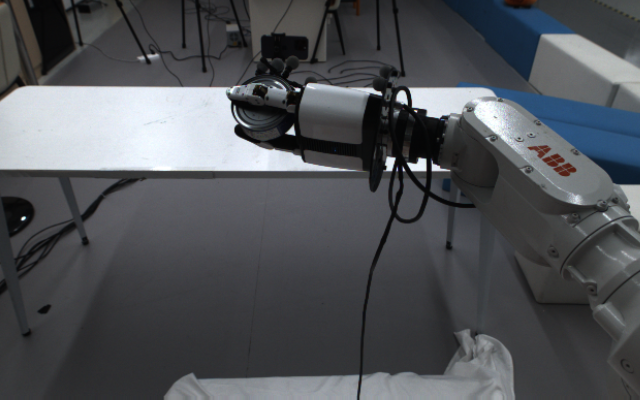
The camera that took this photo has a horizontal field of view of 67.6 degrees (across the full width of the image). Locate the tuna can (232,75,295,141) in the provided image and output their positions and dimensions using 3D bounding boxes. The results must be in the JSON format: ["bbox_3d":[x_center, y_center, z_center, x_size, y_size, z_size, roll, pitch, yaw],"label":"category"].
[{"bbox_3d":[-0.074,-0.126,0.655,0.085,0.034,0.085,-4,67,10],"label":"tuna can"}]
